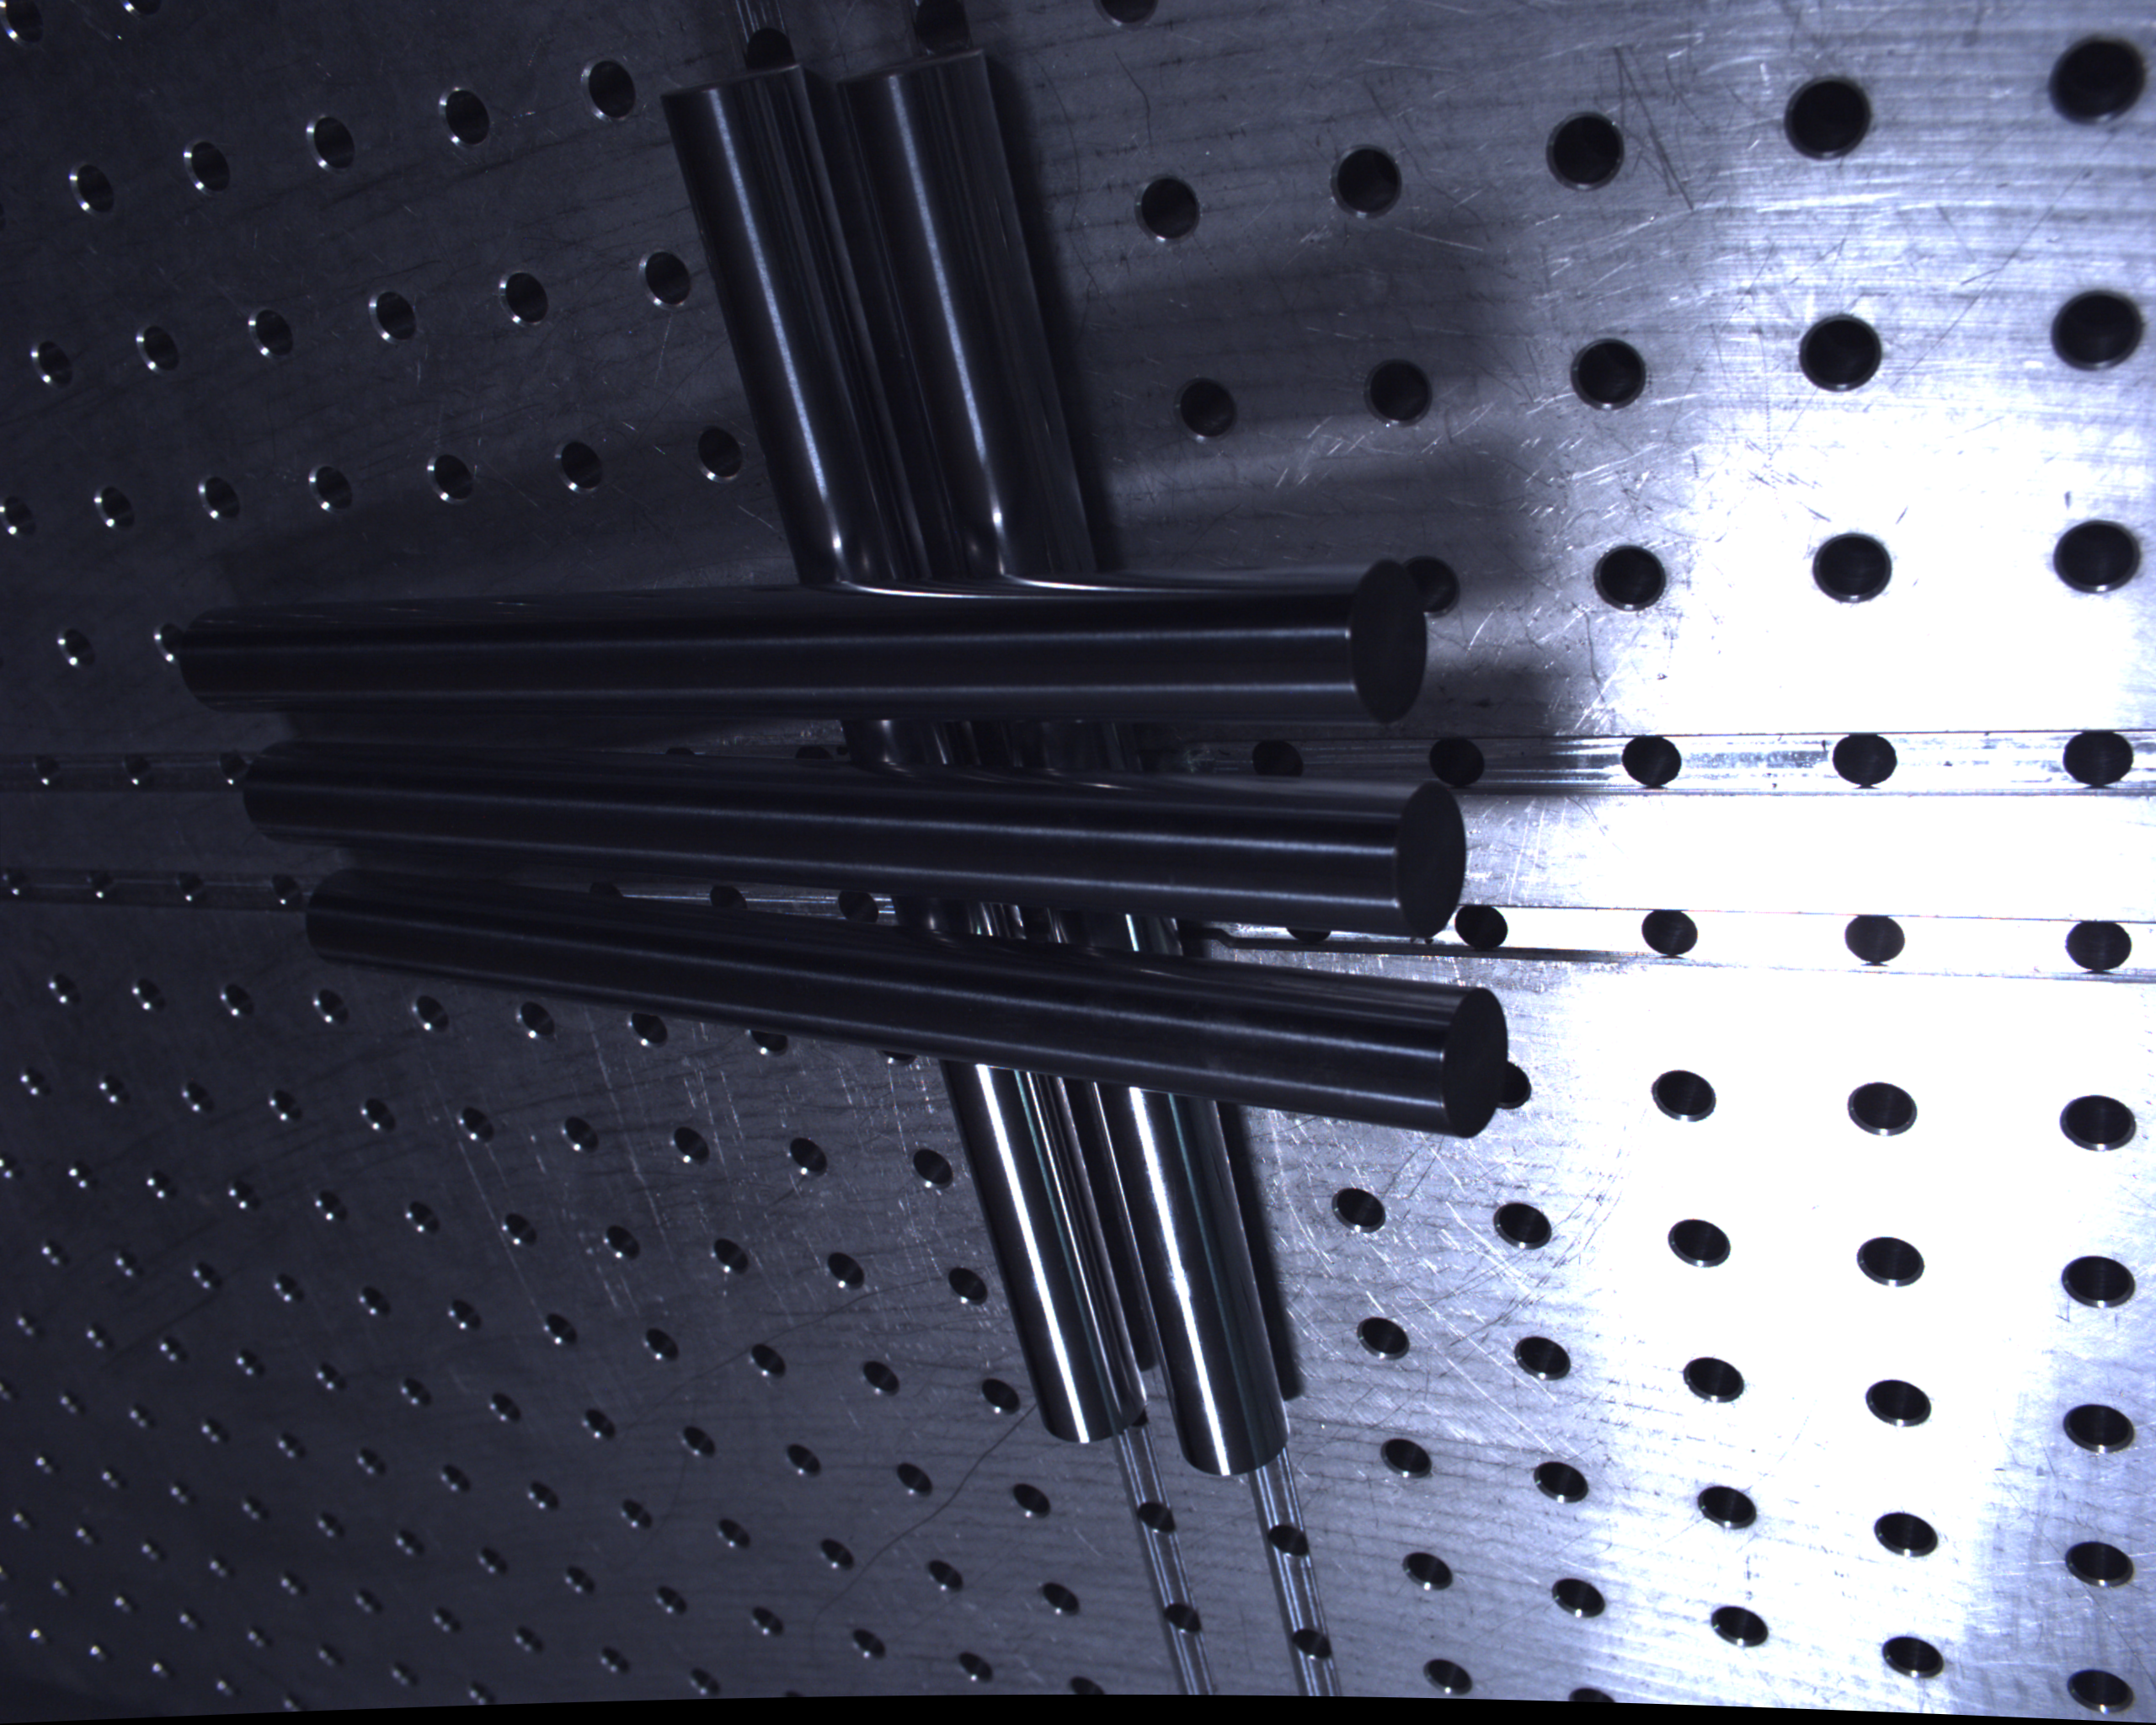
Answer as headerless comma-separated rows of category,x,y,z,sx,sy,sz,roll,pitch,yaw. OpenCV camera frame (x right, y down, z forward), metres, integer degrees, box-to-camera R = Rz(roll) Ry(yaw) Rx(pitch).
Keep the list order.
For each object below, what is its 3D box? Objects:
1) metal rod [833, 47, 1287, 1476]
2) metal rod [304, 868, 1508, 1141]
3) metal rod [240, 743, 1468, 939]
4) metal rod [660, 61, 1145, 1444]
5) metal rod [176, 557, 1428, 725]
metal rod,0.003,-0.001,0.408,0.025,0.025,0.298,1,119,27
metal rod,-0.057,0.023,0.427,0.300,0.025,0.025,5,121,35
metal rod,-0.067,-0.008,0.413,0.300,0.025,0.025,4,121,35
metal rod,-0.028,-0.004,0.422,0.025,0.025,0.298,1,119,27
metal rod,-0.076,-0.040,0.398,0.300,0.025,0.025,3,120,35
